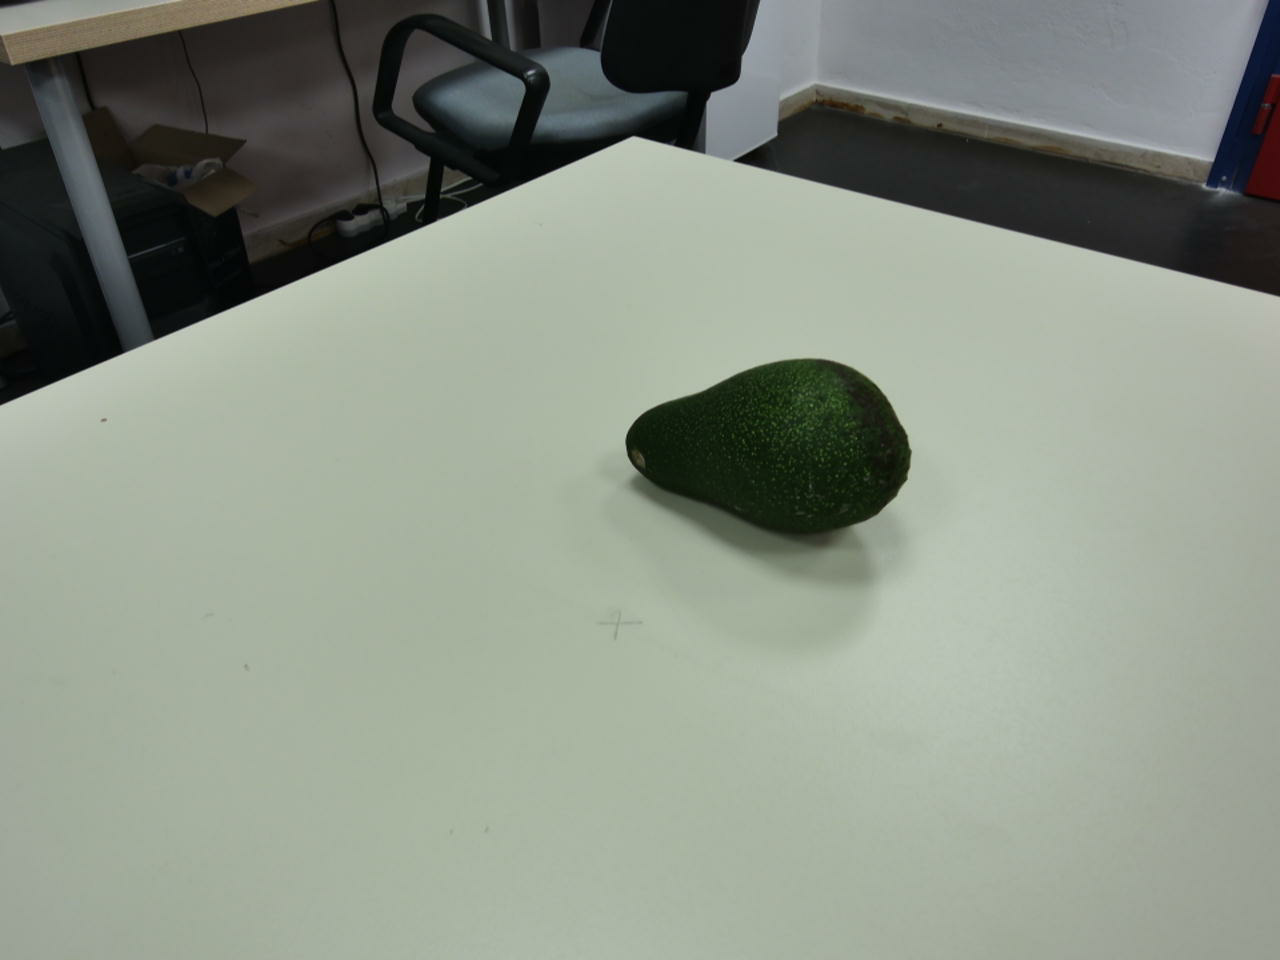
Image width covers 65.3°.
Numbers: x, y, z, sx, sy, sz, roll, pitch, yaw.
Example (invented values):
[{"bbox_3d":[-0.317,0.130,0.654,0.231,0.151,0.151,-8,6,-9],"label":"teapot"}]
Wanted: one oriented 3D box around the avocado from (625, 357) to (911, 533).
[{"bbox_3d":[0.057,-0.021,0.427,0.074,0.076,0.123,-30,45,-33],"label":"avocado"}]
